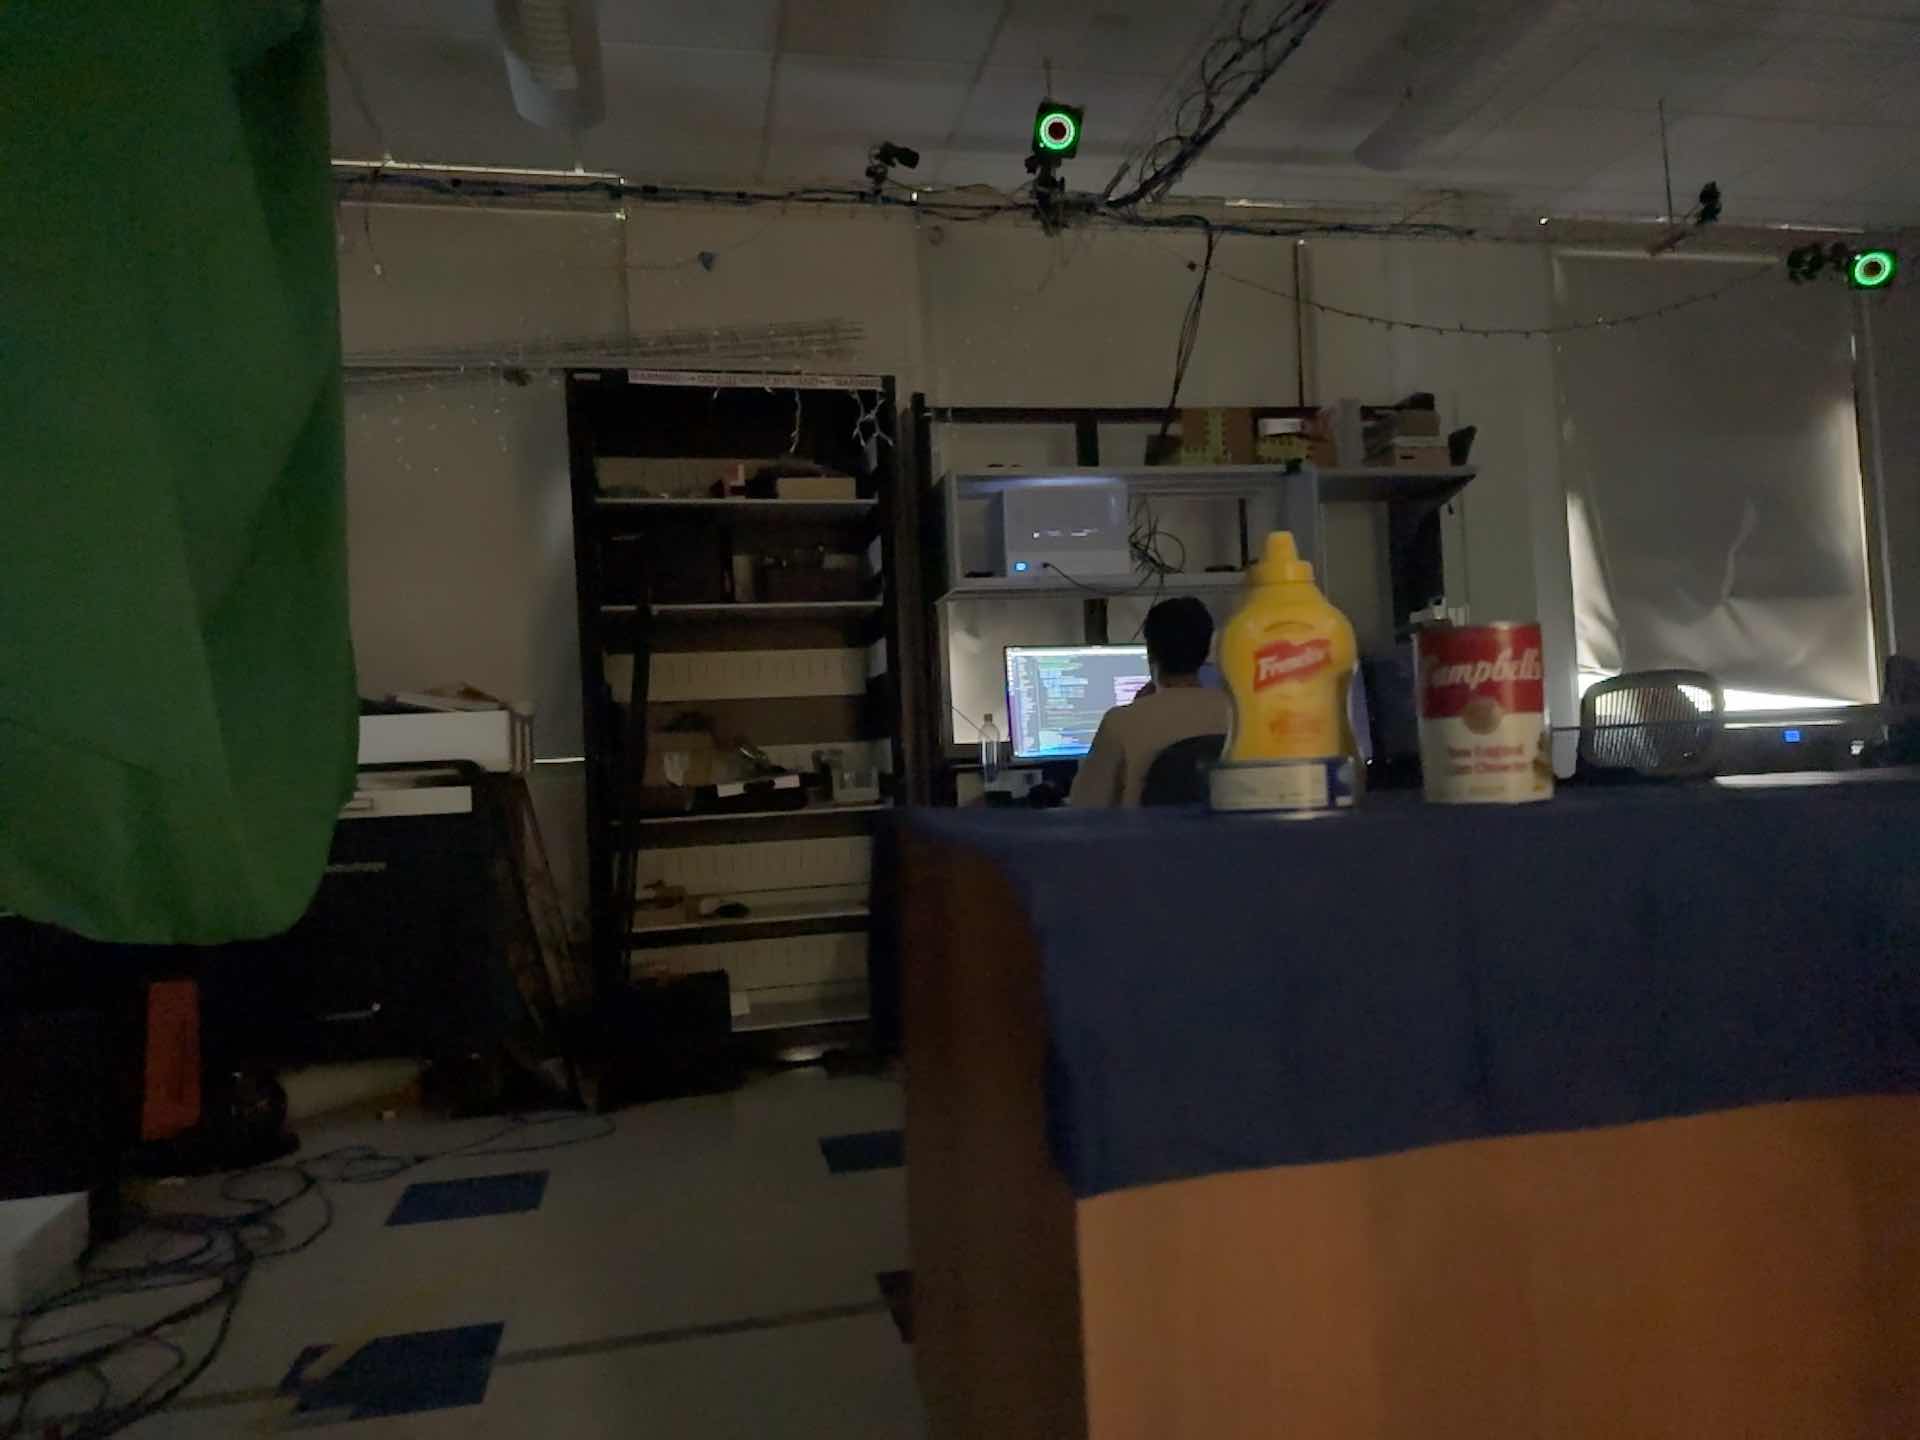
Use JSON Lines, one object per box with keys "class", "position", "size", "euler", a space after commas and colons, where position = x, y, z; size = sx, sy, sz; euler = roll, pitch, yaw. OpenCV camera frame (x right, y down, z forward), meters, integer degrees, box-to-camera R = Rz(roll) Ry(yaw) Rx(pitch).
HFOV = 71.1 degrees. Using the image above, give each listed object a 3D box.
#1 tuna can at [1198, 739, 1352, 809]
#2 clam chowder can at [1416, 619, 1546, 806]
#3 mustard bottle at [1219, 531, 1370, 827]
{"class": "tuna can", "position": [0.177, 0.029, 0.760], "size": [0.083, 0.034, 0.083], "euler": [-2, 1, 0]}
{"class": "clam chowder can", "position": [0.296, -0.005, 0.765], "size": [0.068, 0.102, 0.068], "euler": [-2, 1, 0]}
{"class": "mustard bottle", "position": [0.209, -0.027, 0.849], "size": [0.092, 0.184, 0.054], "euler": [-2, 2, 3]}
